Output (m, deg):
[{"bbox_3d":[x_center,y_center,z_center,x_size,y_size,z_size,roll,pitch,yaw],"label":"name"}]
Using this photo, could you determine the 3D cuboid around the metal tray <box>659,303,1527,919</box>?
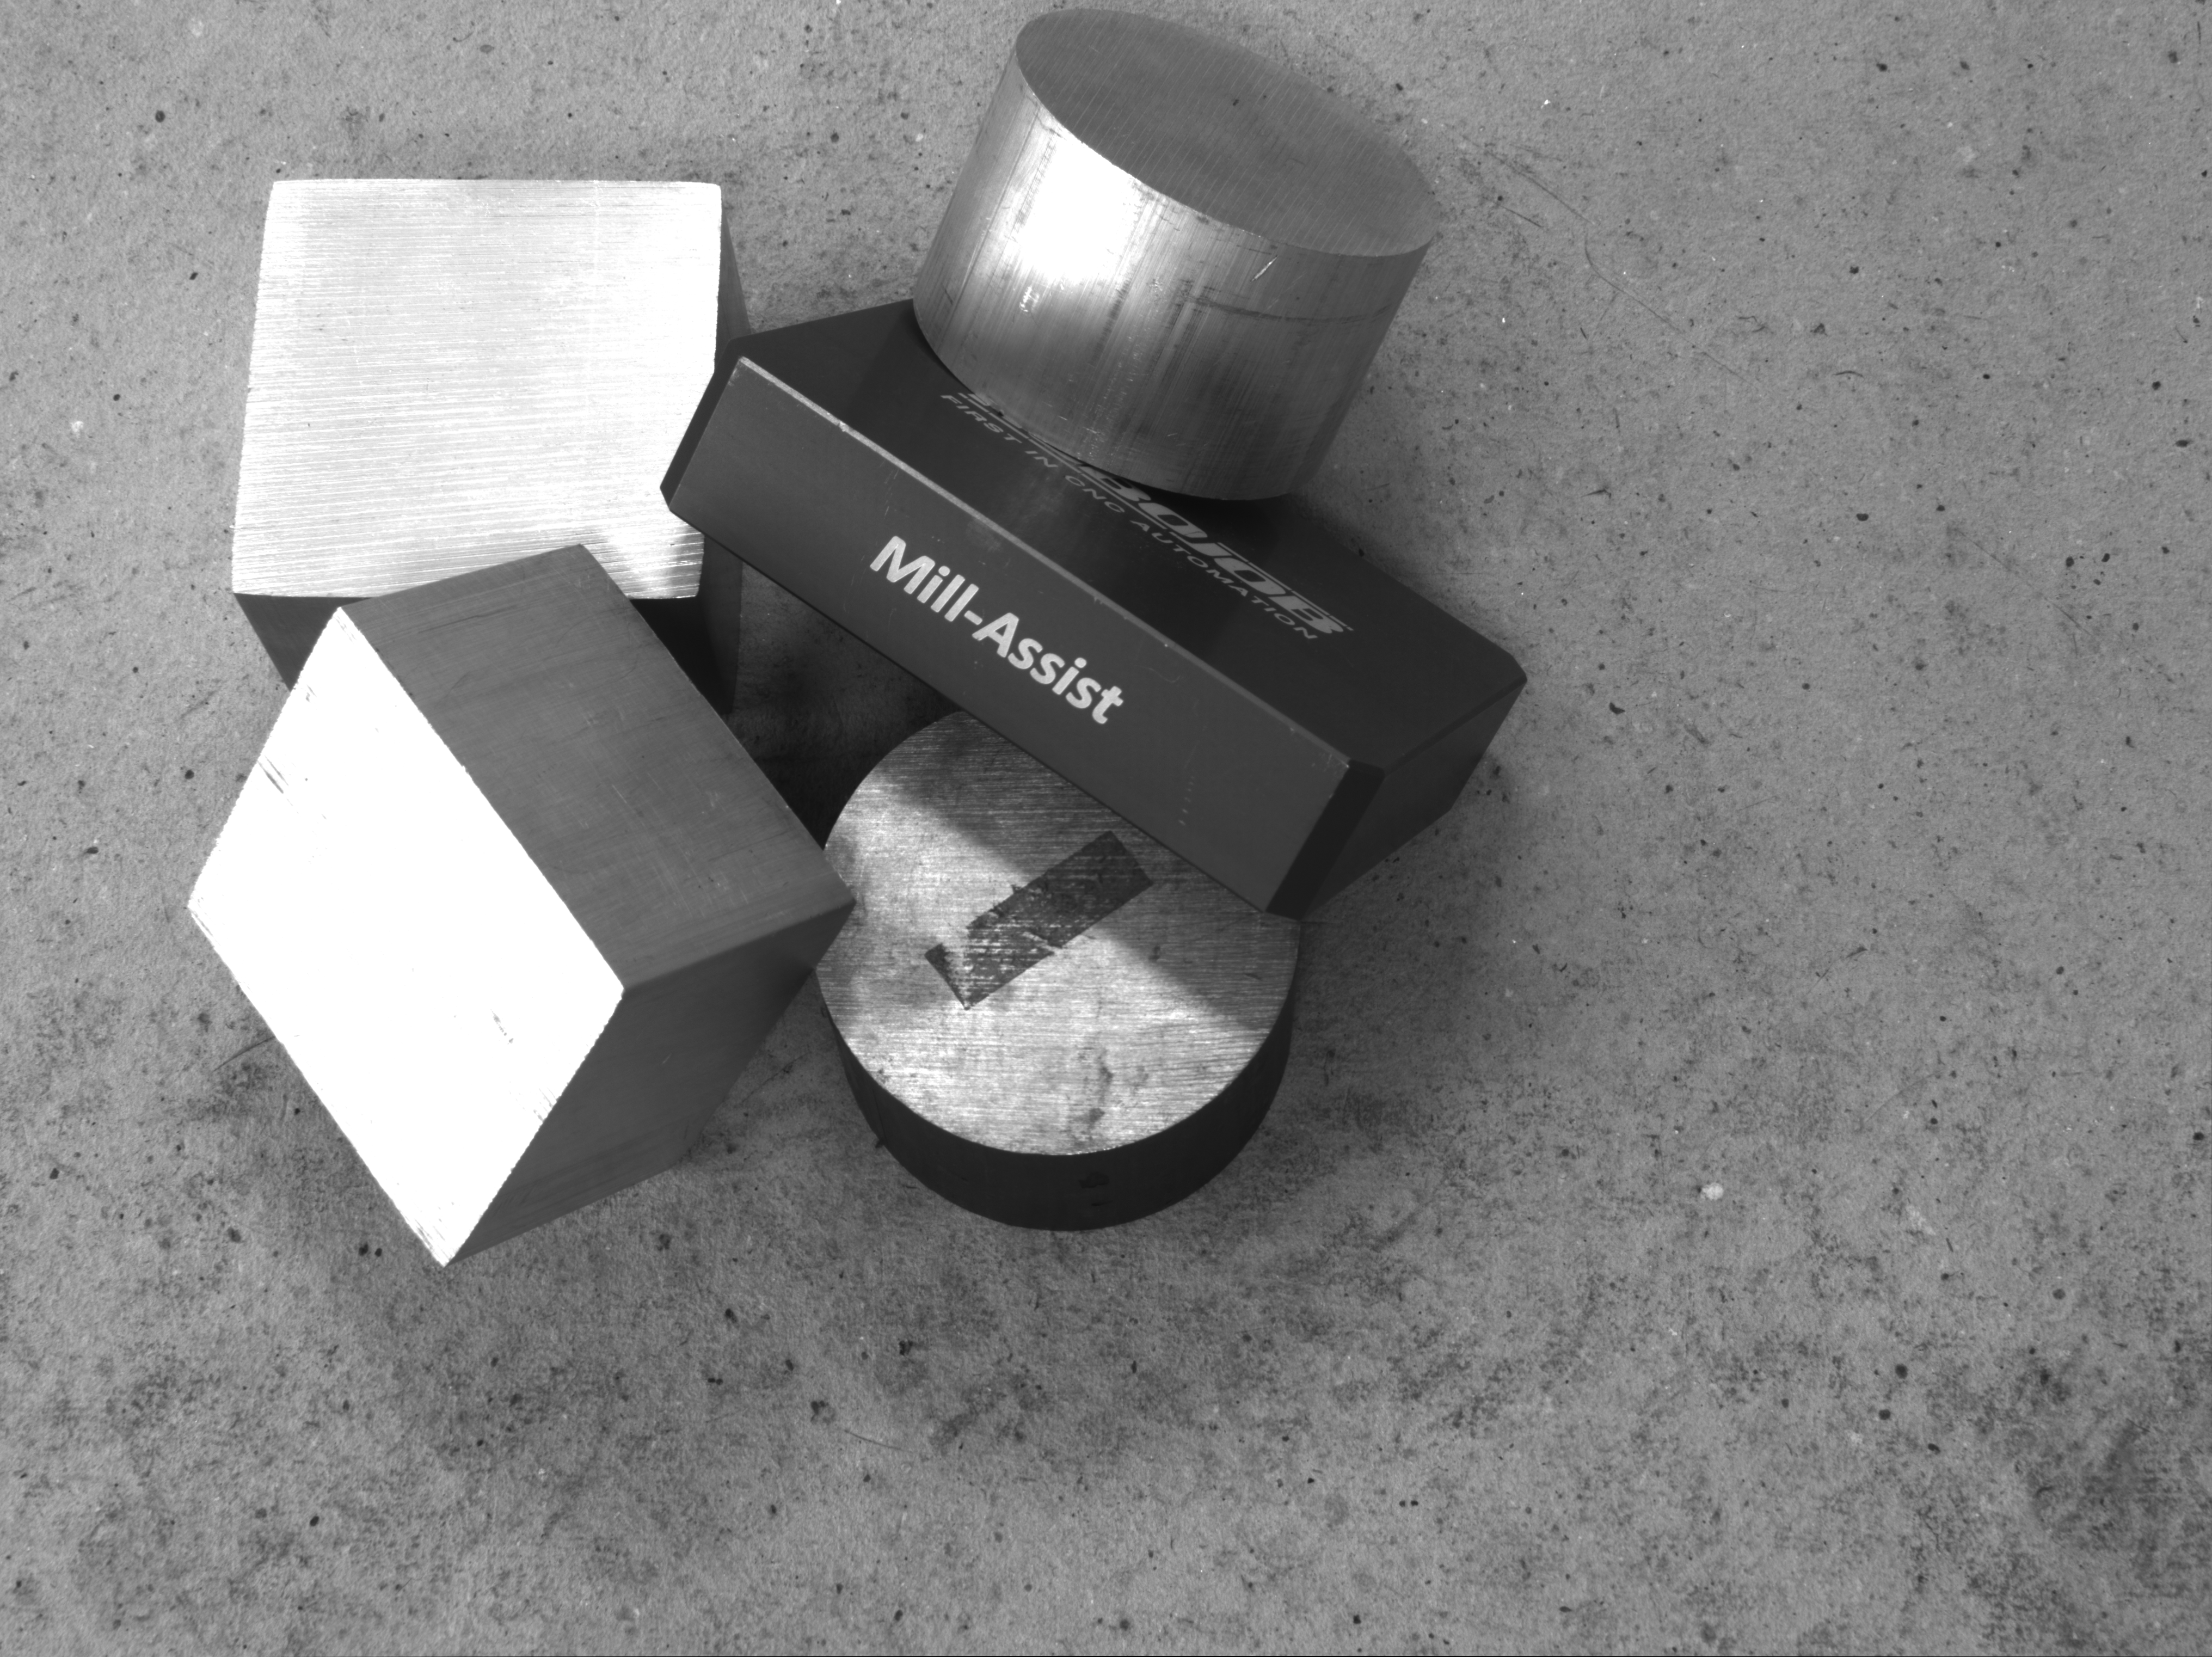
[{"bbox_3d":[0.000,-0.041,0.628,0.130,0.090,0.030,34,113,12],"label":"metal tray"}]

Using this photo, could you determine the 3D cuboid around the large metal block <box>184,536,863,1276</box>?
[{"bbox_3d":[-0.098,0.013,0.604,0.050,0.080,0.080,-22,67,-46],"label":"large metal block"}]

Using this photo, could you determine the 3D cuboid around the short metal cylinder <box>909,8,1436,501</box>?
[{"bbox_3d":[0.011,-0.102,0.649,0.080,0.050,0.080,19,33,-12],"label":"short metal cylinder"}]

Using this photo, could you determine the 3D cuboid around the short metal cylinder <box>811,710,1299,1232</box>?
[{"bbox_3d":[-0.008,0.023,0.625,0.080,0.050,0.080,0,70,0],"label":"short metal cylinder"}]

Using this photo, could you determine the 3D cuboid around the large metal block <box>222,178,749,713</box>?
[{"bbox_3d":[-0.108,-0.068,0.655,0.080,0.050,0.080,1,70,0],"label":"large metal block"}]
